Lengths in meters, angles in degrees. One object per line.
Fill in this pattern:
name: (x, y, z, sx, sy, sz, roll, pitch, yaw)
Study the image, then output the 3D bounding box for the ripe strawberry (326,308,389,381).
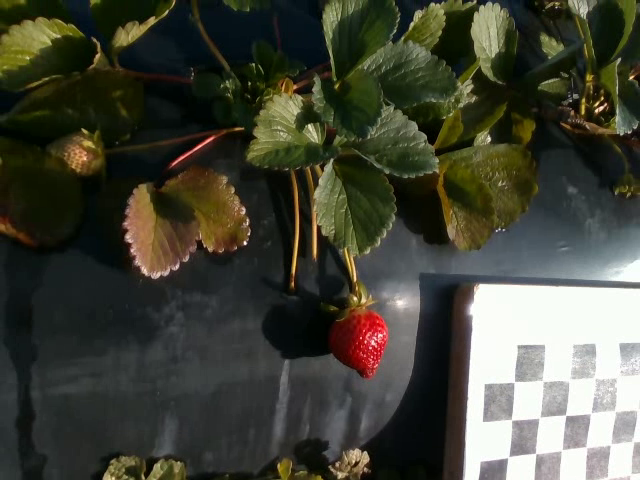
ripe strawberry: (0.023, 0.060, 0.349, 0.040, 0.044, 0.036, -17, -4, -23)
